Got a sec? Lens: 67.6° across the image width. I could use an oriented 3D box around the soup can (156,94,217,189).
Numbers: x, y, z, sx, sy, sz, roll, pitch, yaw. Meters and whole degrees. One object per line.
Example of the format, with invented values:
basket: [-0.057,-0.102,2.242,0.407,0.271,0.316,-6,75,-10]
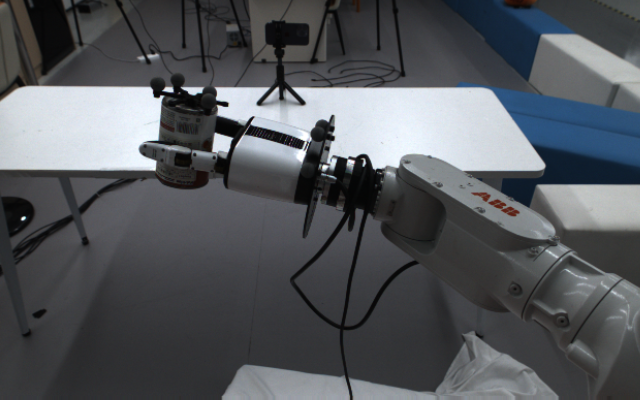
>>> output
soup can: [-0.167,-0.072,0.606,0.067,0.101,0.067,12,25,-6]
